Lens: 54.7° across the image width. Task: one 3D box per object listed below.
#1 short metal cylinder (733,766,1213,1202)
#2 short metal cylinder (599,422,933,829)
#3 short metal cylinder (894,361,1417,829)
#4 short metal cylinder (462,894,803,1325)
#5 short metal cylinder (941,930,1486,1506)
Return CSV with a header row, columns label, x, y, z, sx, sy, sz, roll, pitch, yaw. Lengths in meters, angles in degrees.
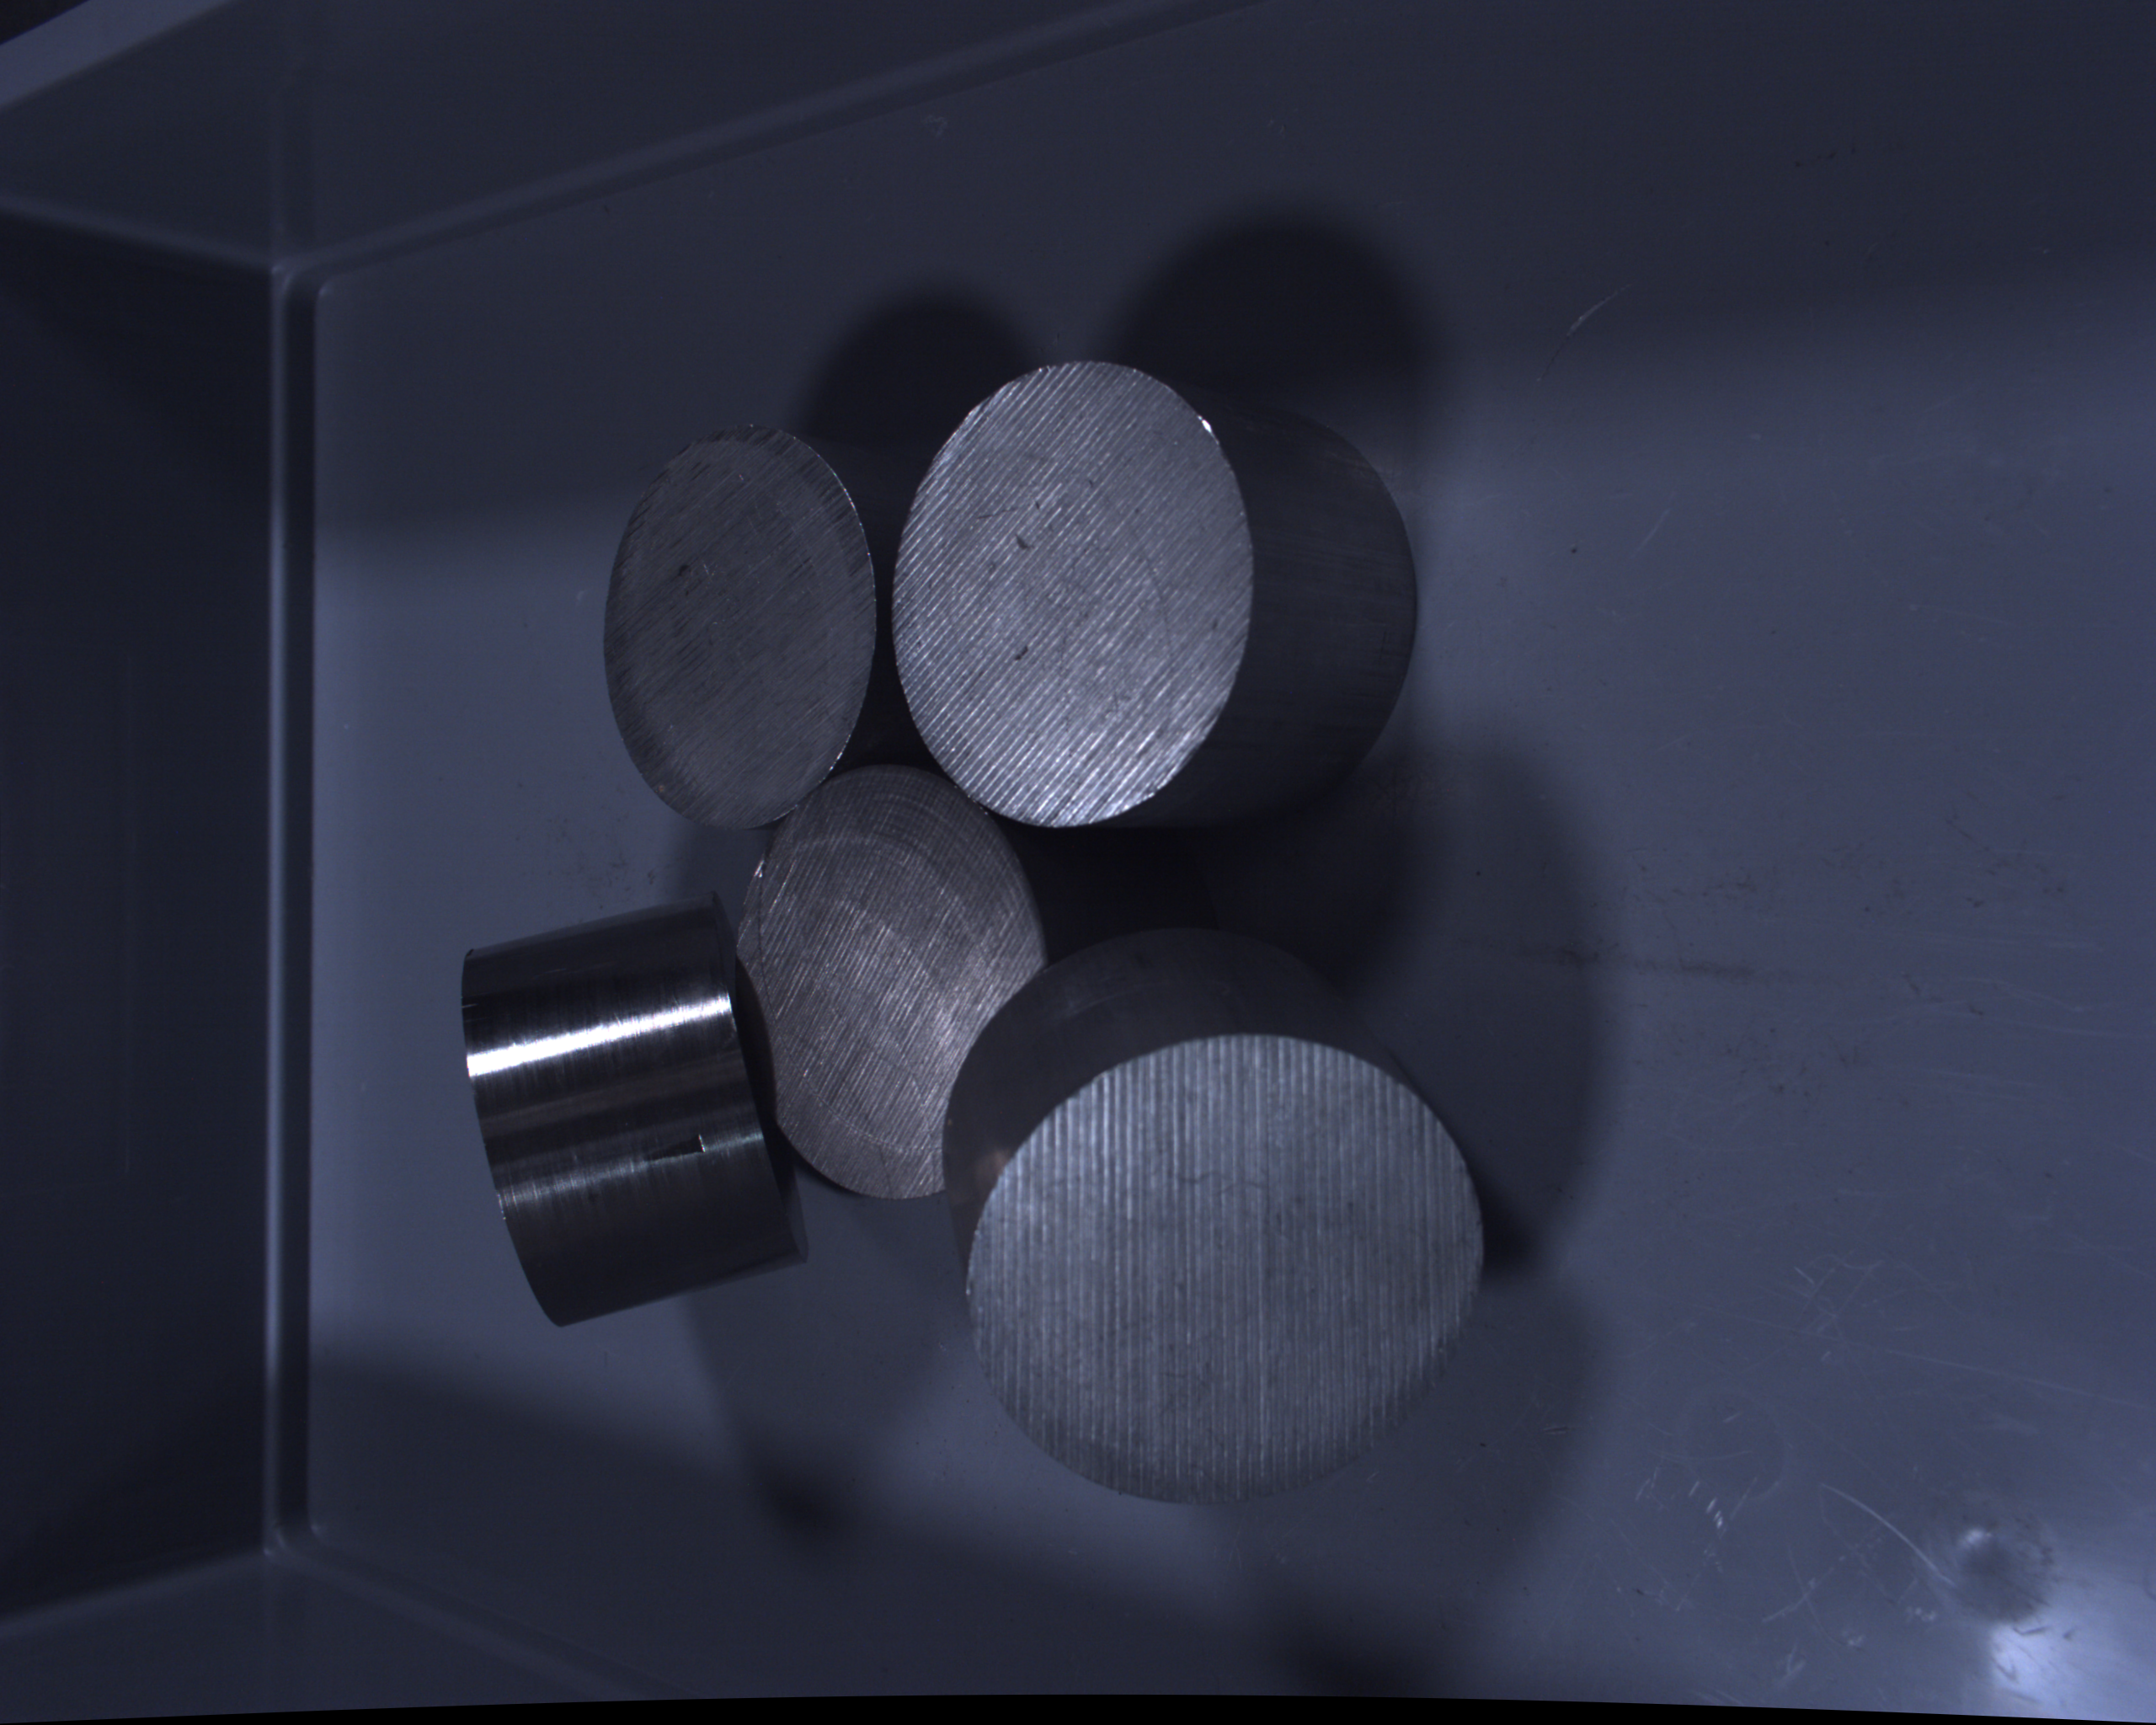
label,x,y,z,sx,sy,sz,roll,pitch,yaw
short metal cylinder,-0.020,0.022,0.401,0.080,0.050,0.079,0,90,39
short metal cylinder,-0.053,-0.046,0.428,0.080,0.050,0.079,0,90,39
short metal cylinder,0.013,-0.046,0.376,0.080,0.050,0.079,0,90,39
short metal cylinder,-0.091,0.050,0.434,0.050,0.080,0.080,-14,78,-6
short metal cylinder,0.020,0.057,0.343,0.050,0.081,0.079,-120,44,-72
